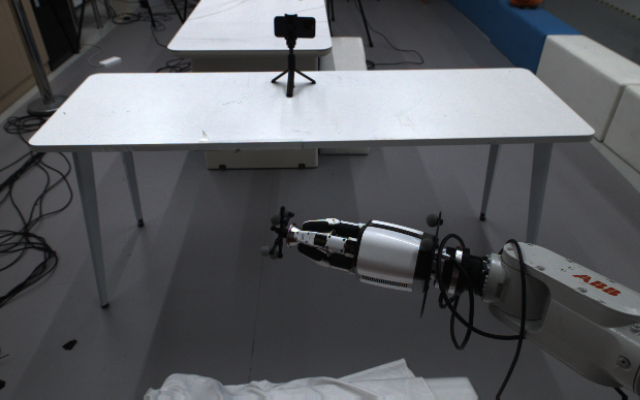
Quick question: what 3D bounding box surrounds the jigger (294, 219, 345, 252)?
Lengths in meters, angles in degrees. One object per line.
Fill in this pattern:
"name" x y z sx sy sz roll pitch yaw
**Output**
"jigger" -0.008 0.057 0.755 0.071 0.043 0.043 10 36 16
